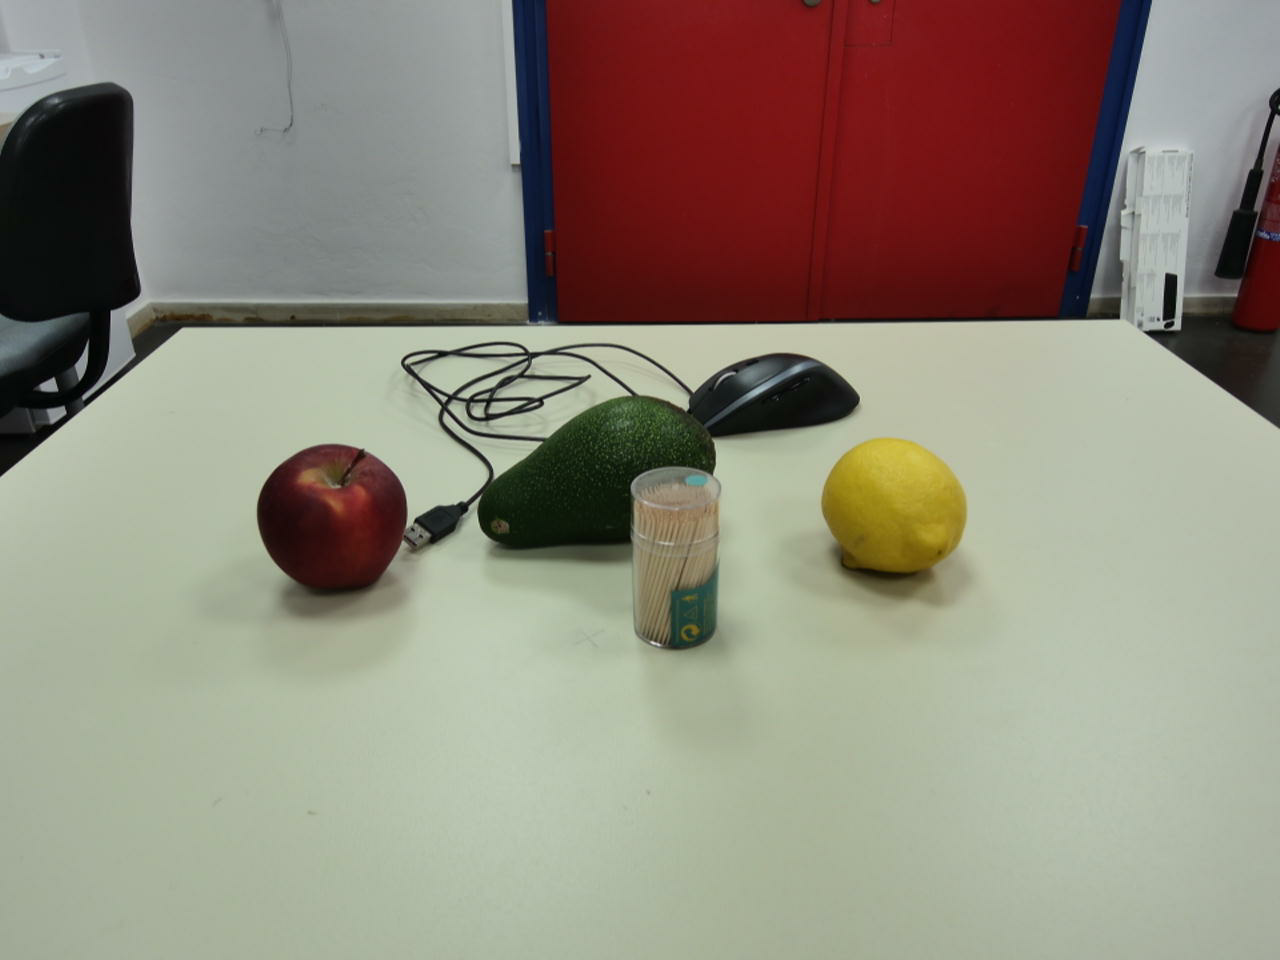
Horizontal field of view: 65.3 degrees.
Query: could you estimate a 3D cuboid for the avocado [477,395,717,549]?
[{"bbox_3d":[-0.021,-0.007,0.527,0.123,0.076,0.074,3,26,5],"label":"avocado"}]
